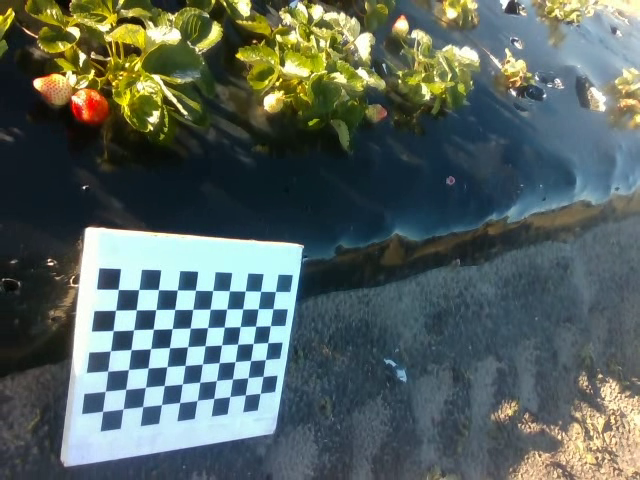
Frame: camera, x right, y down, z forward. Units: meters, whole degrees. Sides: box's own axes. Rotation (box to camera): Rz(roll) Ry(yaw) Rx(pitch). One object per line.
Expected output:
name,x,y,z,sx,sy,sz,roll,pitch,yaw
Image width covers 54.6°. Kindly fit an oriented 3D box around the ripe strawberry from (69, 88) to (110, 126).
ripe strawberry,-0.231,-0.133,0.619,0.040,0.038,0.056,-9,18,-9
